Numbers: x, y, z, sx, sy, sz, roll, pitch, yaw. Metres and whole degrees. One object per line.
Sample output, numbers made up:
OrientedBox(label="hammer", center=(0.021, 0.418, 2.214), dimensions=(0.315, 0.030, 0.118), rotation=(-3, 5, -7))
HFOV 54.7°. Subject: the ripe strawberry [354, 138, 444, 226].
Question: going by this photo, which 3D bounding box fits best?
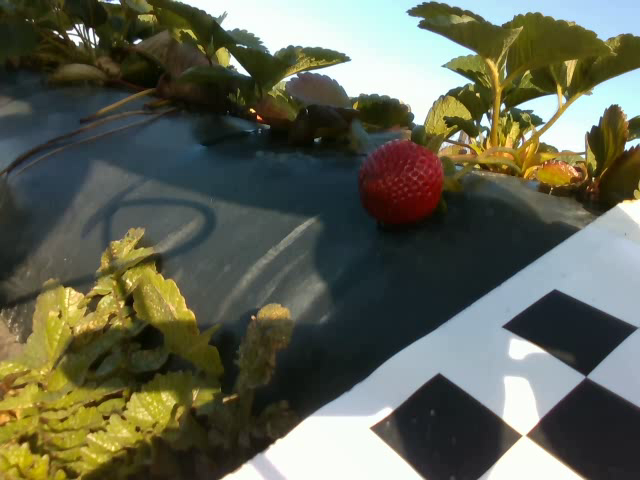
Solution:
OrientedBox(label="ripe strawberry", center=(0.028, -0.022, 0.234), dimensions=(0.040, 0.036, 0.044), rotation=(15, 27, 29))
